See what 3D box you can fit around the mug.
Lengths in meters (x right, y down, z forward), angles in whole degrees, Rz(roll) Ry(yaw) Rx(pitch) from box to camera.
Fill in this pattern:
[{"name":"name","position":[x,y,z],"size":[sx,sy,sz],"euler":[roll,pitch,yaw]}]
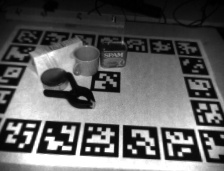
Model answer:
[{"name":"mug","position":[-0.099,-0.087,0.749],"size":[0.092,0.082,0.117],"euler":[23,53,14]}]

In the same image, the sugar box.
[{"name":"sugar box","position":[-0.192,-0.101,0.756],"size":[0.178,0.093,0.045],"euler":[-27,55,-27]}]

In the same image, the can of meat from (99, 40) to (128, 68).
[{"name":"can of meat","position":[0.002,-0.115,0.793],"size":[0.102,0.084,0.057],"euler":[-3,48,-9]}]

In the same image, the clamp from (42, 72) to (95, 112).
[{"name":"clamp","position":[-0.123,0.029,0.689],"size":[0.164,0.036,0.122],"euler":[34,50,16]}]

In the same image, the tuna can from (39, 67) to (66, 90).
[{"name":"tuna can","position":[-0.198,-0.020,0.717],"size":[0.086,0.034,0.085],"euler":[3,51,-3]}]
